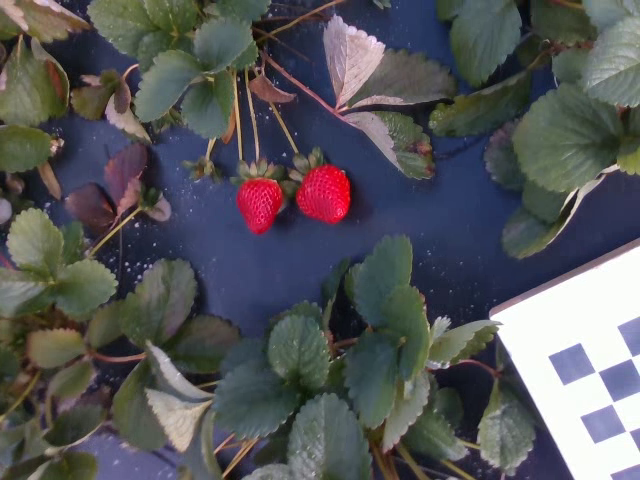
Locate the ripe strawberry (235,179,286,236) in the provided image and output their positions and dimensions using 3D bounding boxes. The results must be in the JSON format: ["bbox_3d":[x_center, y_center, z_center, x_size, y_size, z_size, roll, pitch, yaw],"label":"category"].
[{"bbox_3d":[-0.055,-0.029,0.559,0.048,0.056,0.041,-15,-22,20],"label":"ripe strawberry"}]

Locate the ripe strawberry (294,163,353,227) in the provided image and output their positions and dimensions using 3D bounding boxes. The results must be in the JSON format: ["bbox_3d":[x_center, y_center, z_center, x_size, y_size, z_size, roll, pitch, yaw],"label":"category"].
[{"bbox_3d":[0.001,-0.035,0.533,0.051,0.058,0.064,23,22,-45],"label":"ripe strawberry"}]
